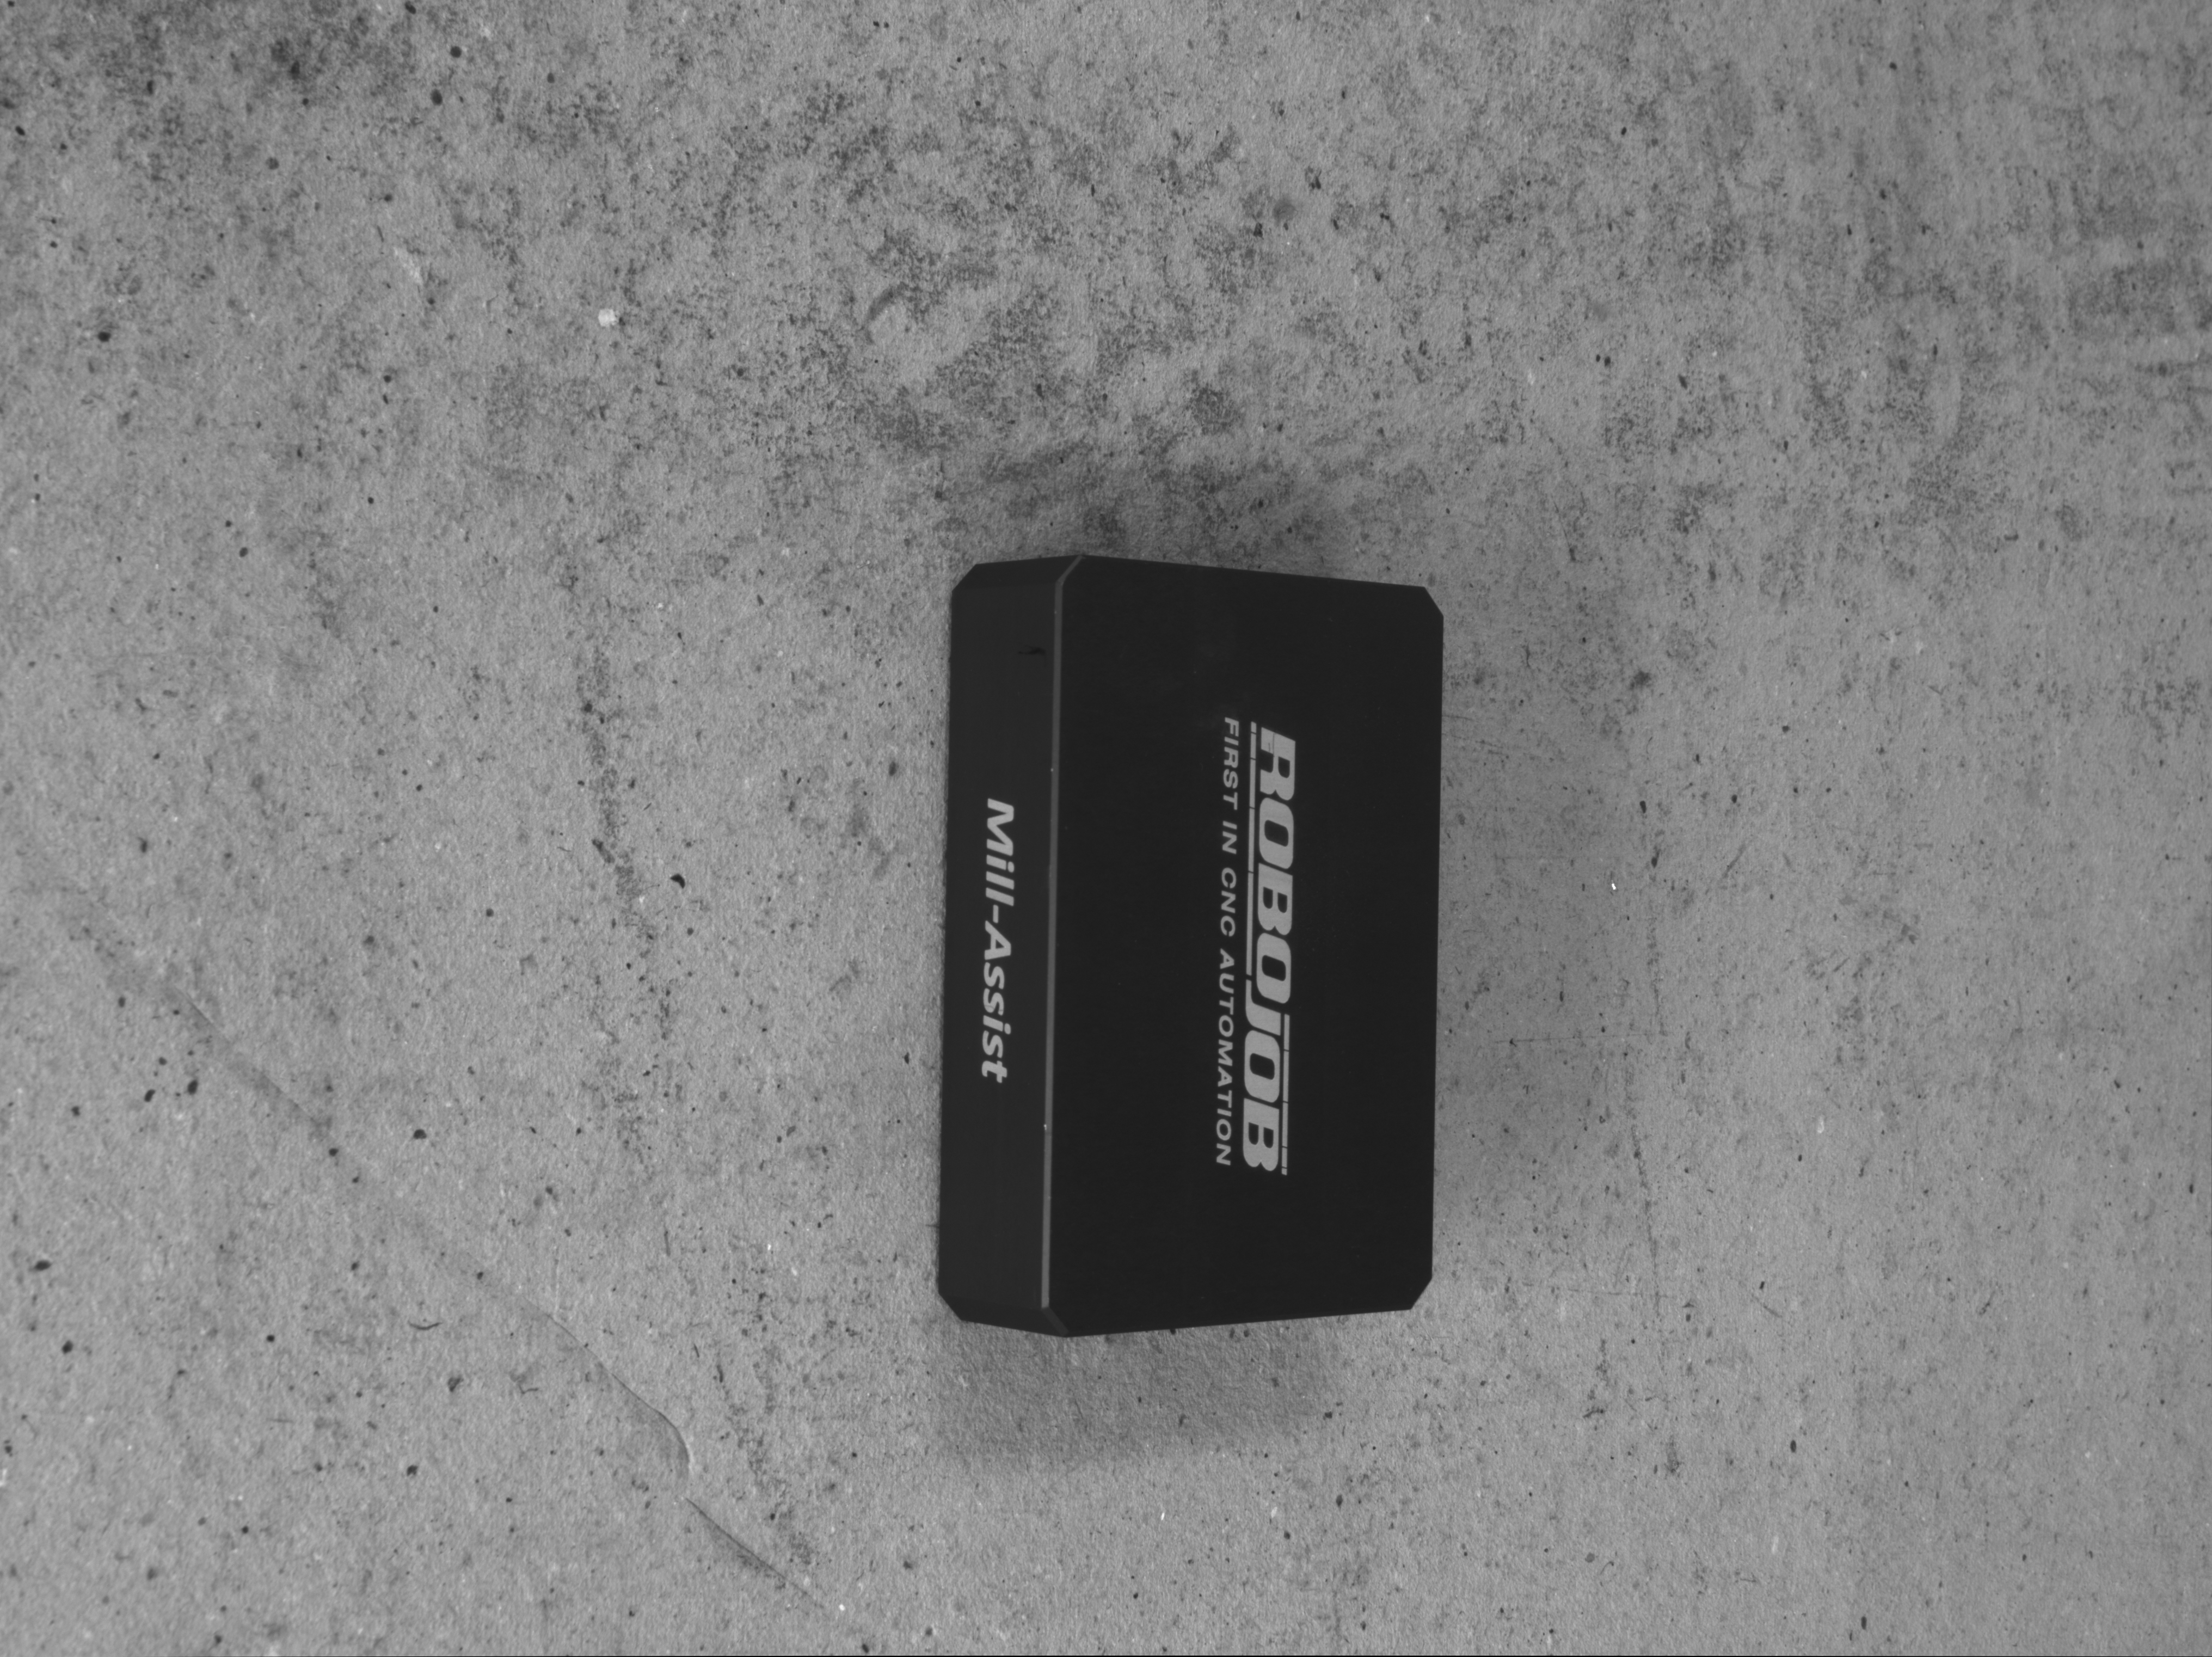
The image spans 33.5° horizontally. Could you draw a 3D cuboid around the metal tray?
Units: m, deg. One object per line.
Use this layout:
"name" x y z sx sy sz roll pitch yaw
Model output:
"metal tray" 0.016 0.021 0.646 0.090 0.030 0.130 2 89 -40
